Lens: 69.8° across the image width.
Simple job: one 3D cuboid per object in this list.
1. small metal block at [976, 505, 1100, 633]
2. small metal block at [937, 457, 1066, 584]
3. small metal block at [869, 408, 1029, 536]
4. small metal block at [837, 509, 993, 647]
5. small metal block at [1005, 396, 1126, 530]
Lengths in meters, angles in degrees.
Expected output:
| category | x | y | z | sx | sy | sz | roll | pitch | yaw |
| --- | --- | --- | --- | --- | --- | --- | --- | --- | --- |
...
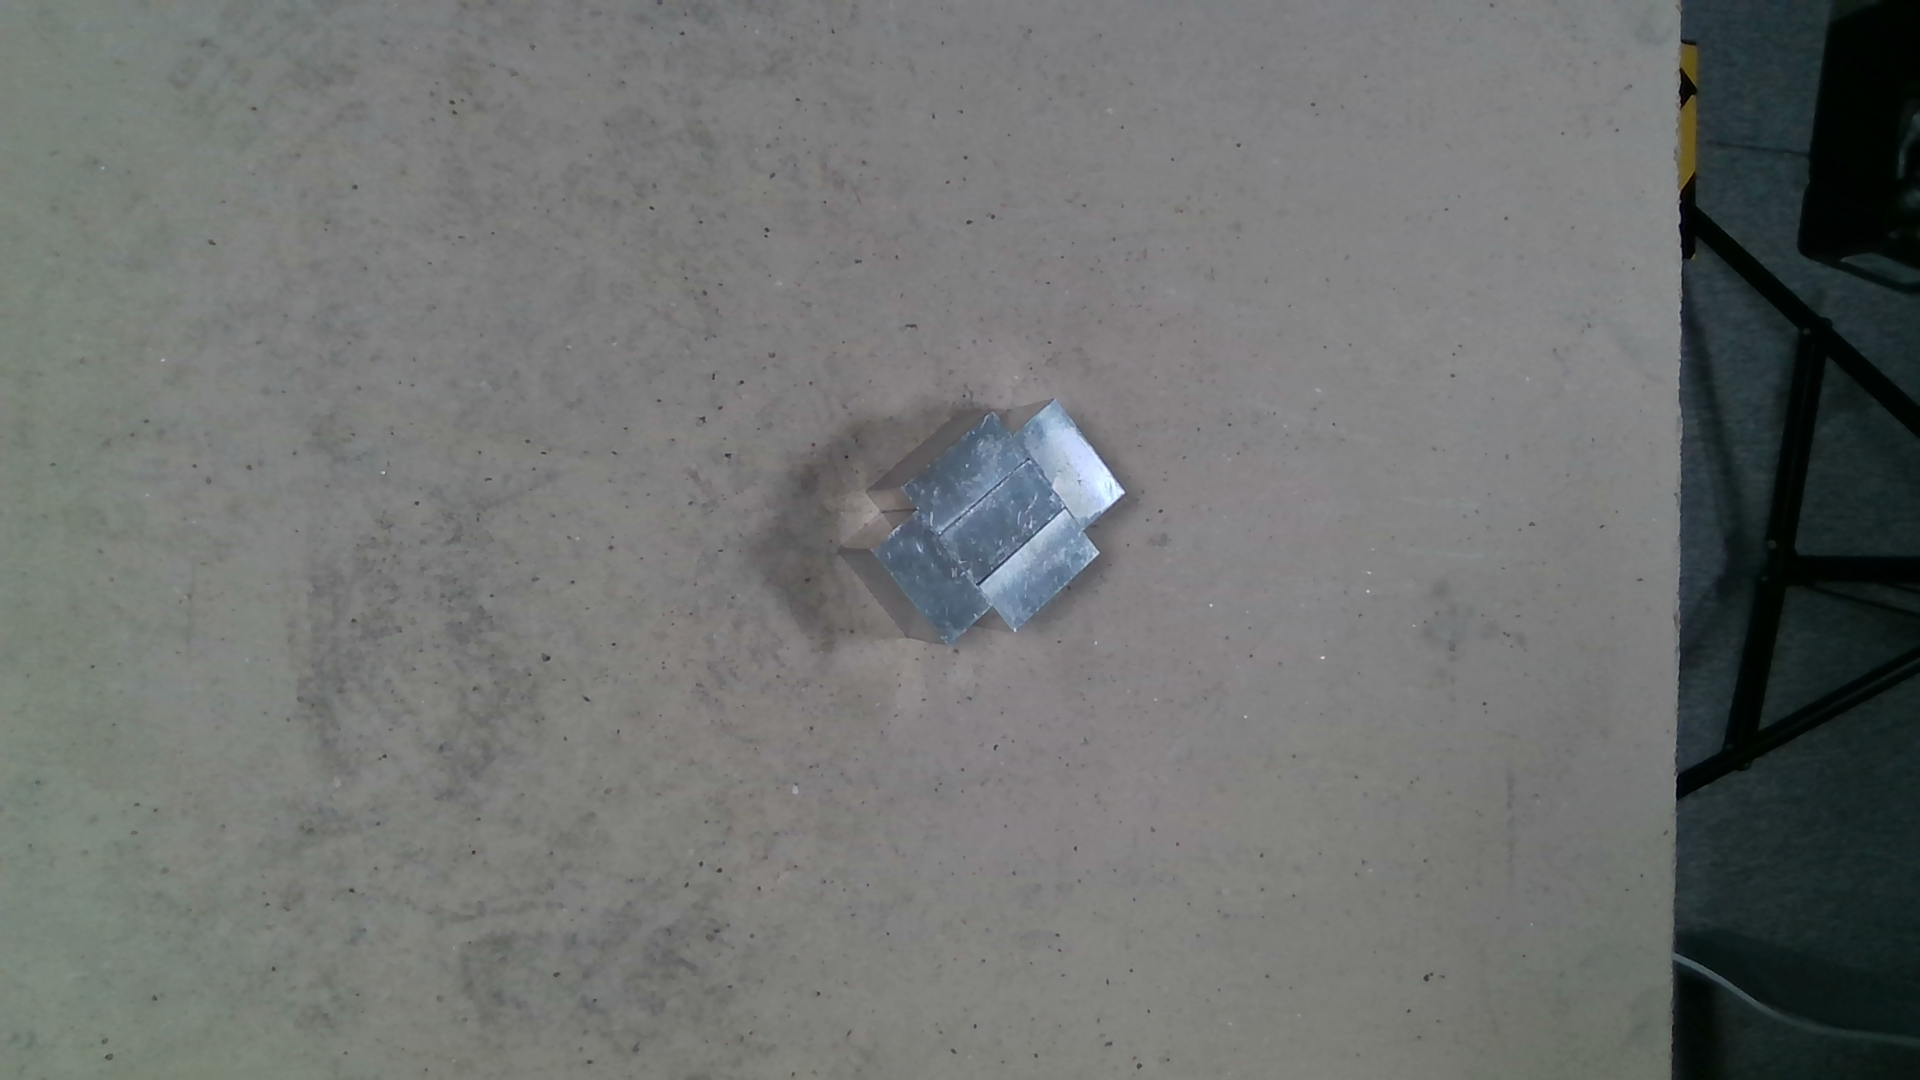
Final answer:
| category | x | y | z | sx | sy | sz | roll | pitch | yaw |
| --- | --- | --- | --- | --- | --- | --- | --- | --- | --- |
| small metal block | 0.024 | 0.012 | 0.581 | 0.050 | 0.050 | 0.025 | -43 | 104 | -15 |
| small metal block | 0.009 | -0.008 | 0.575 | 0.050 | 0.050 | 0.025 | -42 | 103 | -15 |
| small metal block | -0.006 | -0.027 | 0.570 | 0.050 | 0.050 | 0.025 | -42 | 103 | -15 |
| small metal block | -0.019 | 0.015 | 0.565 | 0.025 | 0.050 | 0.050 | -41 | 103 | -16 |
| small metal block | 0.036 | -0.031 | 0.585 | 0.025 | 0.050 | 0.050 | -41 | 103 | -16 |
